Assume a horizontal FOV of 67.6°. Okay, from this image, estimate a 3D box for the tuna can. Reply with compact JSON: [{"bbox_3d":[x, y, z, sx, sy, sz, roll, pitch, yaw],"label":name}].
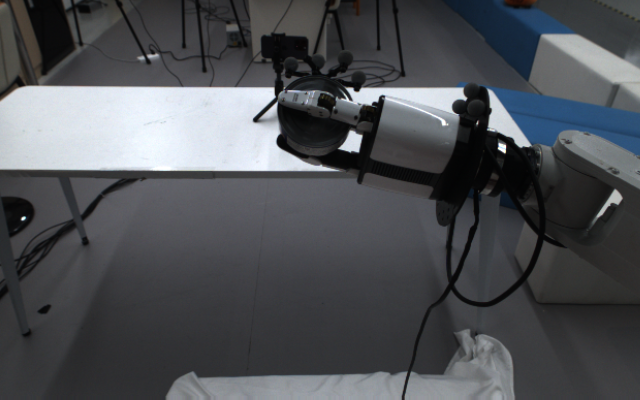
[{"bbox_3d":[-0.005,-0.096,0.545,0.085,0.034,0.085,1,74,-3],"label":"tuna can"}]
